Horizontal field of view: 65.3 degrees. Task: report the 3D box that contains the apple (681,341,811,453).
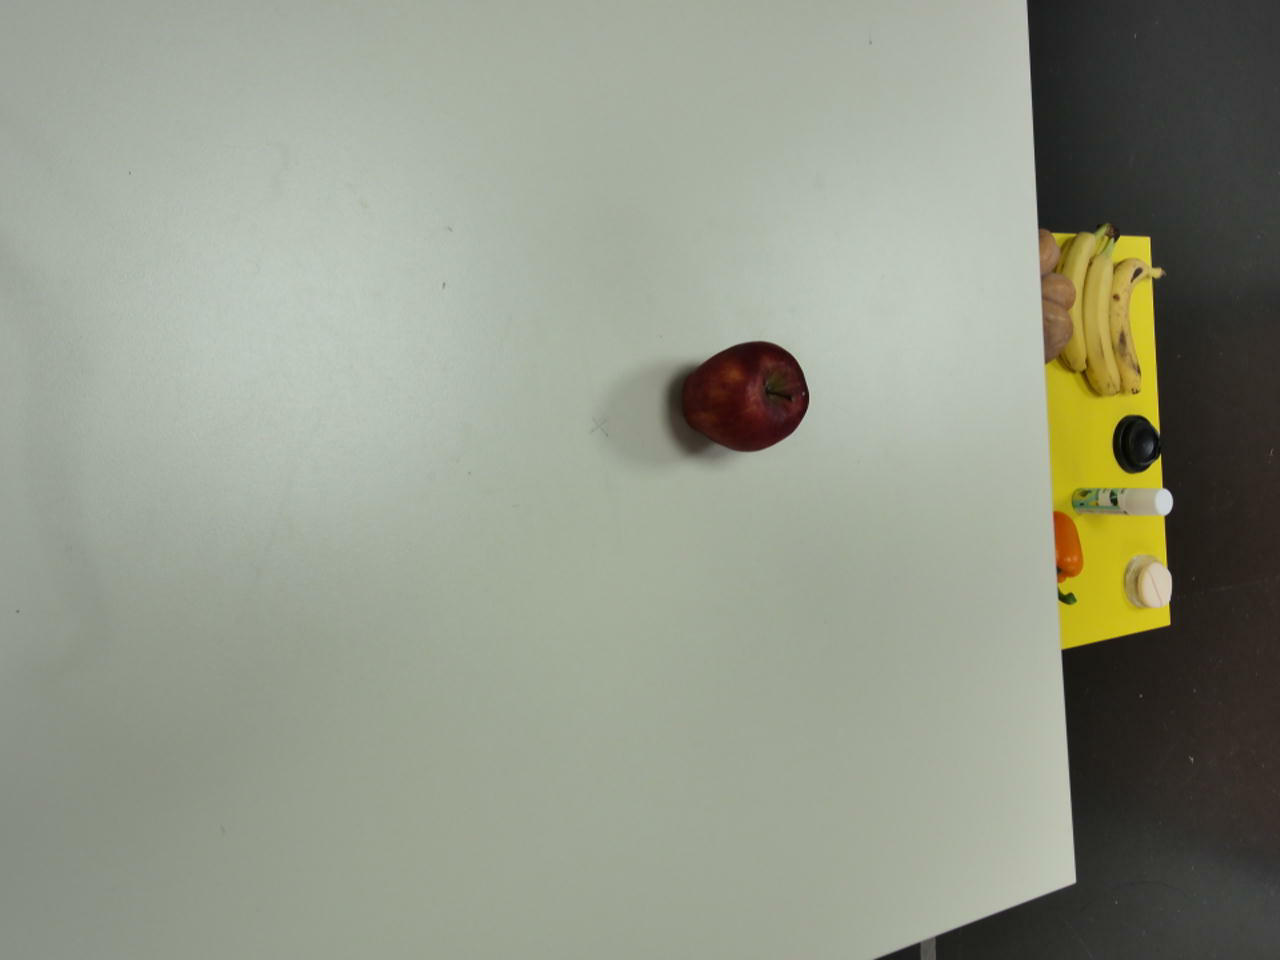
[{"bbox_3d":[0.077,-0.059,0.699,0.083,0.090,0.083,0,90,-28],"label":"apple"}]
